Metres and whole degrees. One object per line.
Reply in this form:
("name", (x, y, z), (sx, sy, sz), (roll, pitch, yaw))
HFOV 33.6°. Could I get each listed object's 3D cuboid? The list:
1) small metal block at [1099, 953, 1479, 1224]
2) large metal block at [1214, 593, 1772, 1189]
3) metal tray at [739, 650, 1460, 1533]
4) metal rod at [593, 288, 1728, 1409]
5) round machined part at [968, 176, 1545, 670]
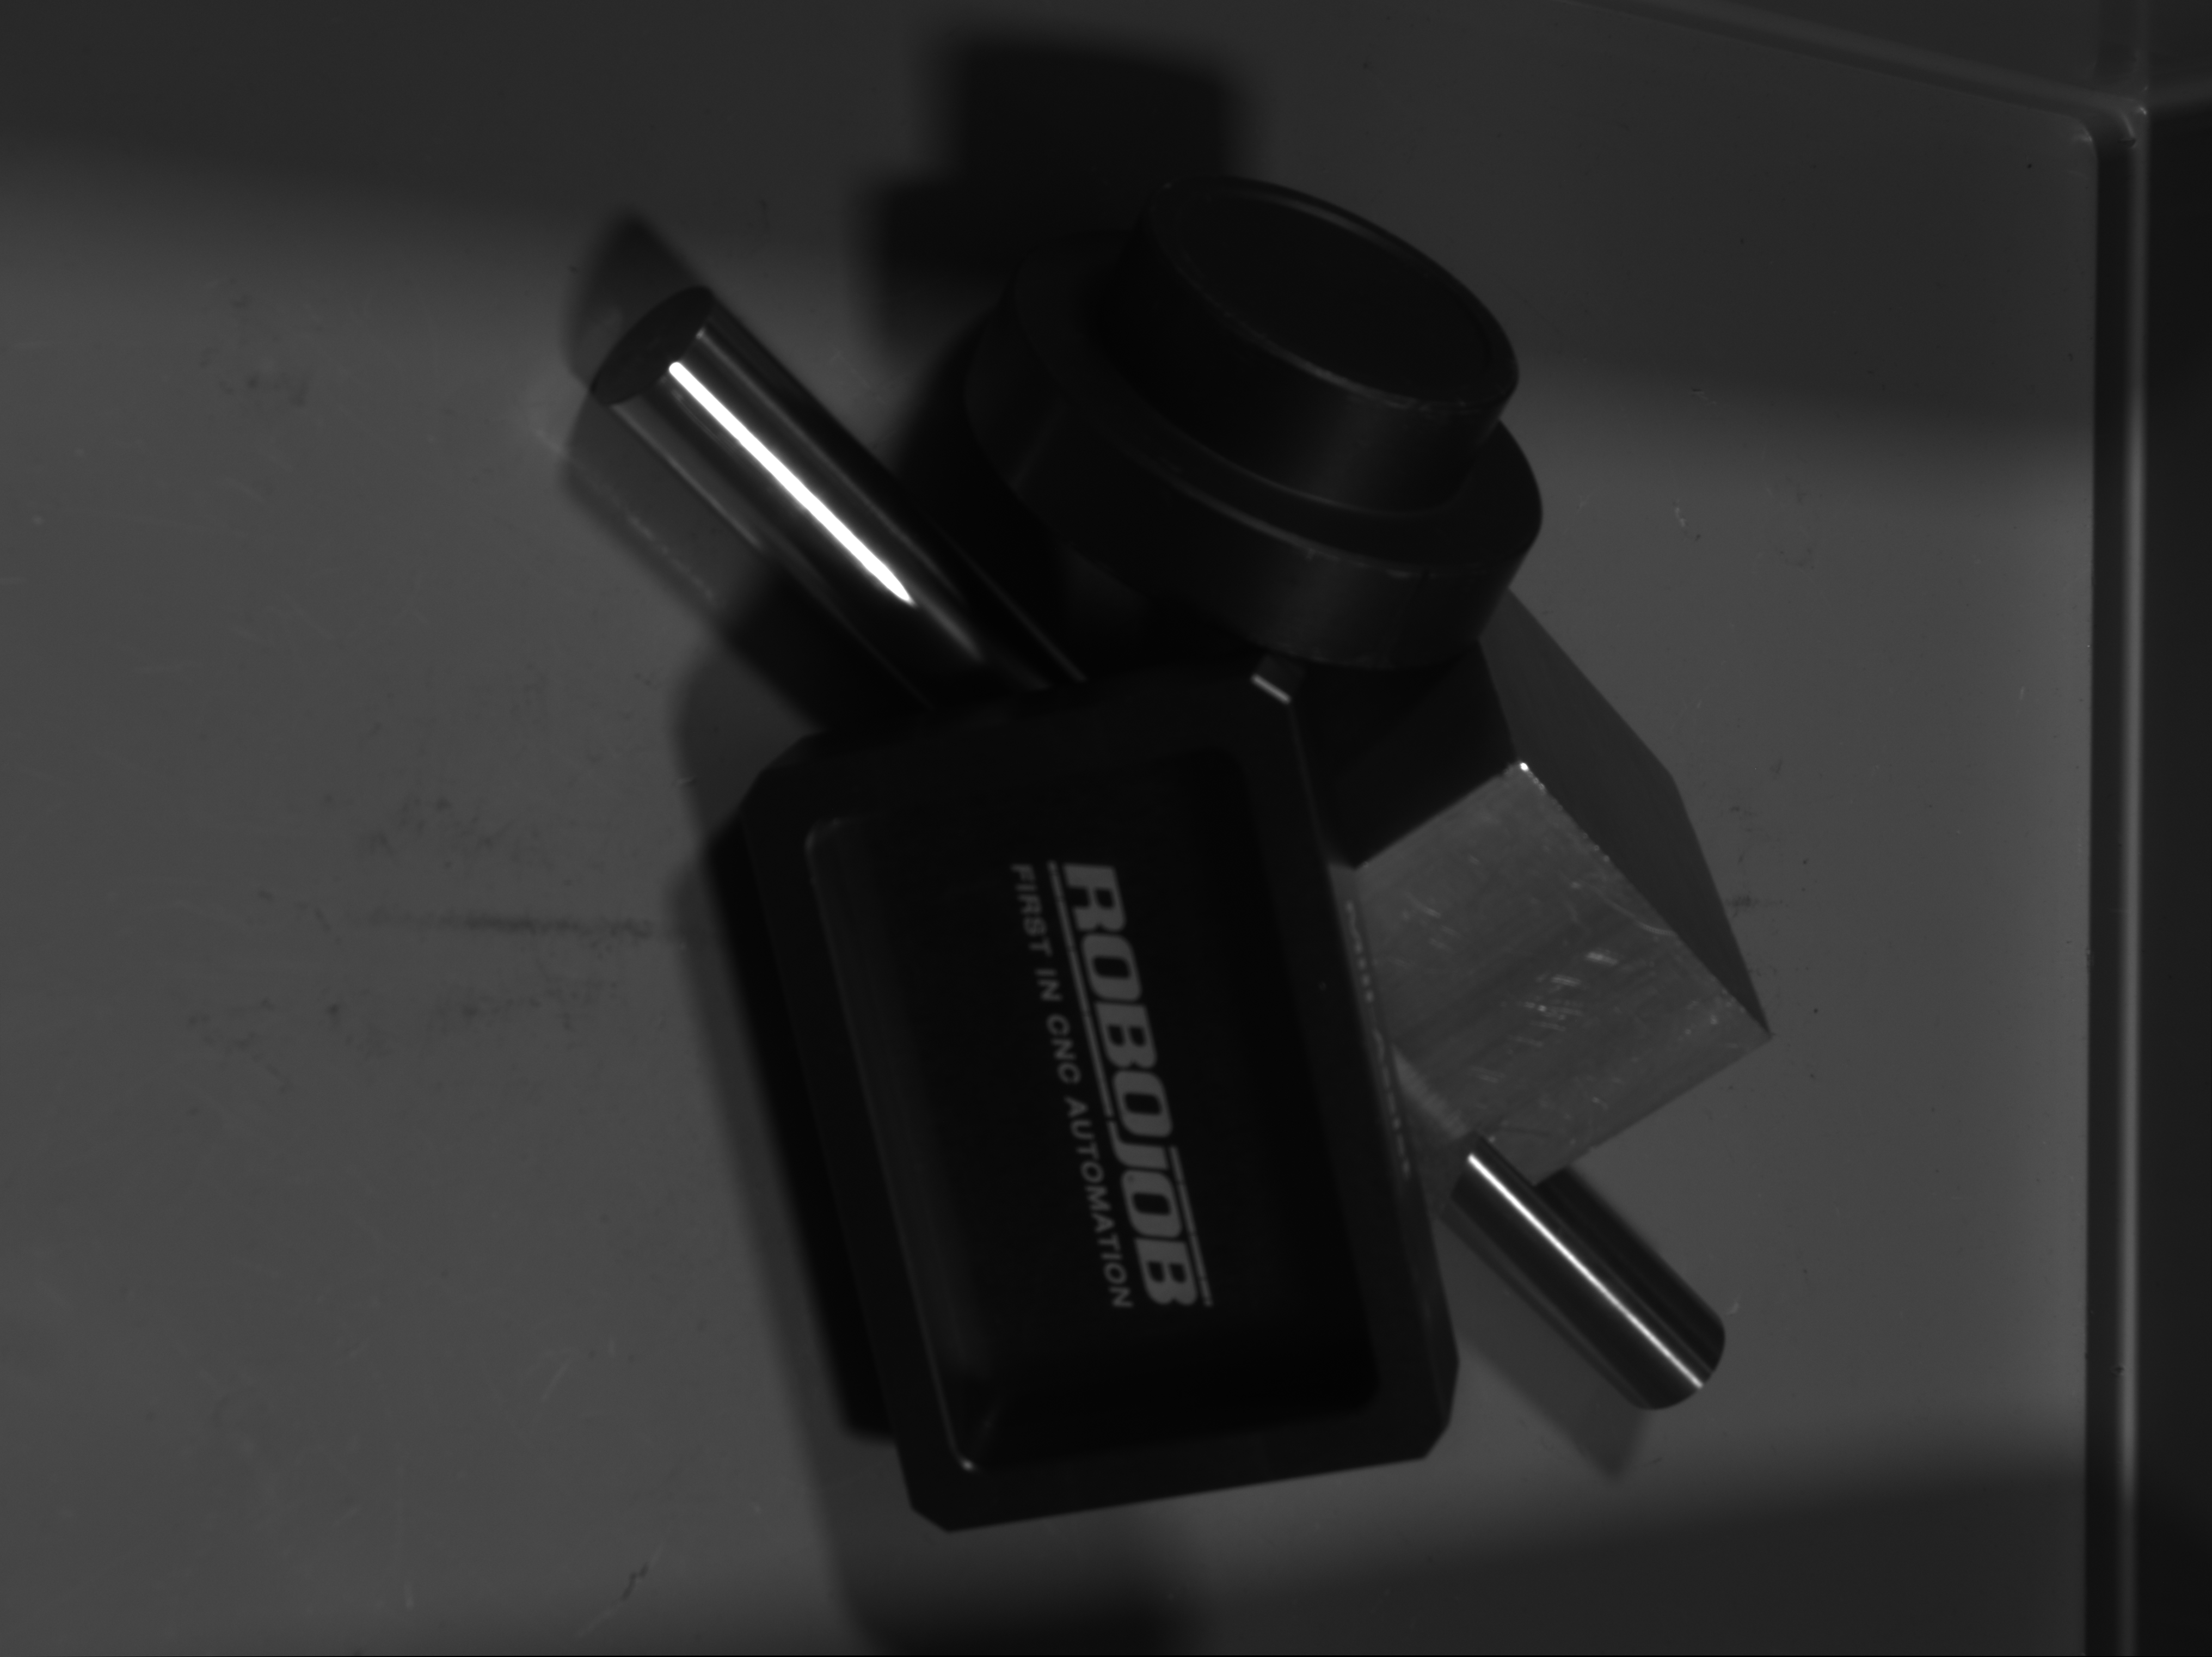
("small metal block", (0.030, 0.047, 0.645), (0.050, 0.050, 0.025), (46, 63, -30))
("large metal block", (0.067, 0.002, 0.650), (0.080, 0.050, 0.080), (44, 21, -31))
("metal tray", (0.001, 0.043, 0.596), (0.030, 0.090, 0.130), (-56, 134, -75))
("metal rod", (0.021, 0.015, 0.653), (0.301, 0.025, 0.025), (44, 63, -31))
("round machined part", (0.030, -0.073, 0.611), (0.098, 0.098, 0.042), (-2, 132, -40))
